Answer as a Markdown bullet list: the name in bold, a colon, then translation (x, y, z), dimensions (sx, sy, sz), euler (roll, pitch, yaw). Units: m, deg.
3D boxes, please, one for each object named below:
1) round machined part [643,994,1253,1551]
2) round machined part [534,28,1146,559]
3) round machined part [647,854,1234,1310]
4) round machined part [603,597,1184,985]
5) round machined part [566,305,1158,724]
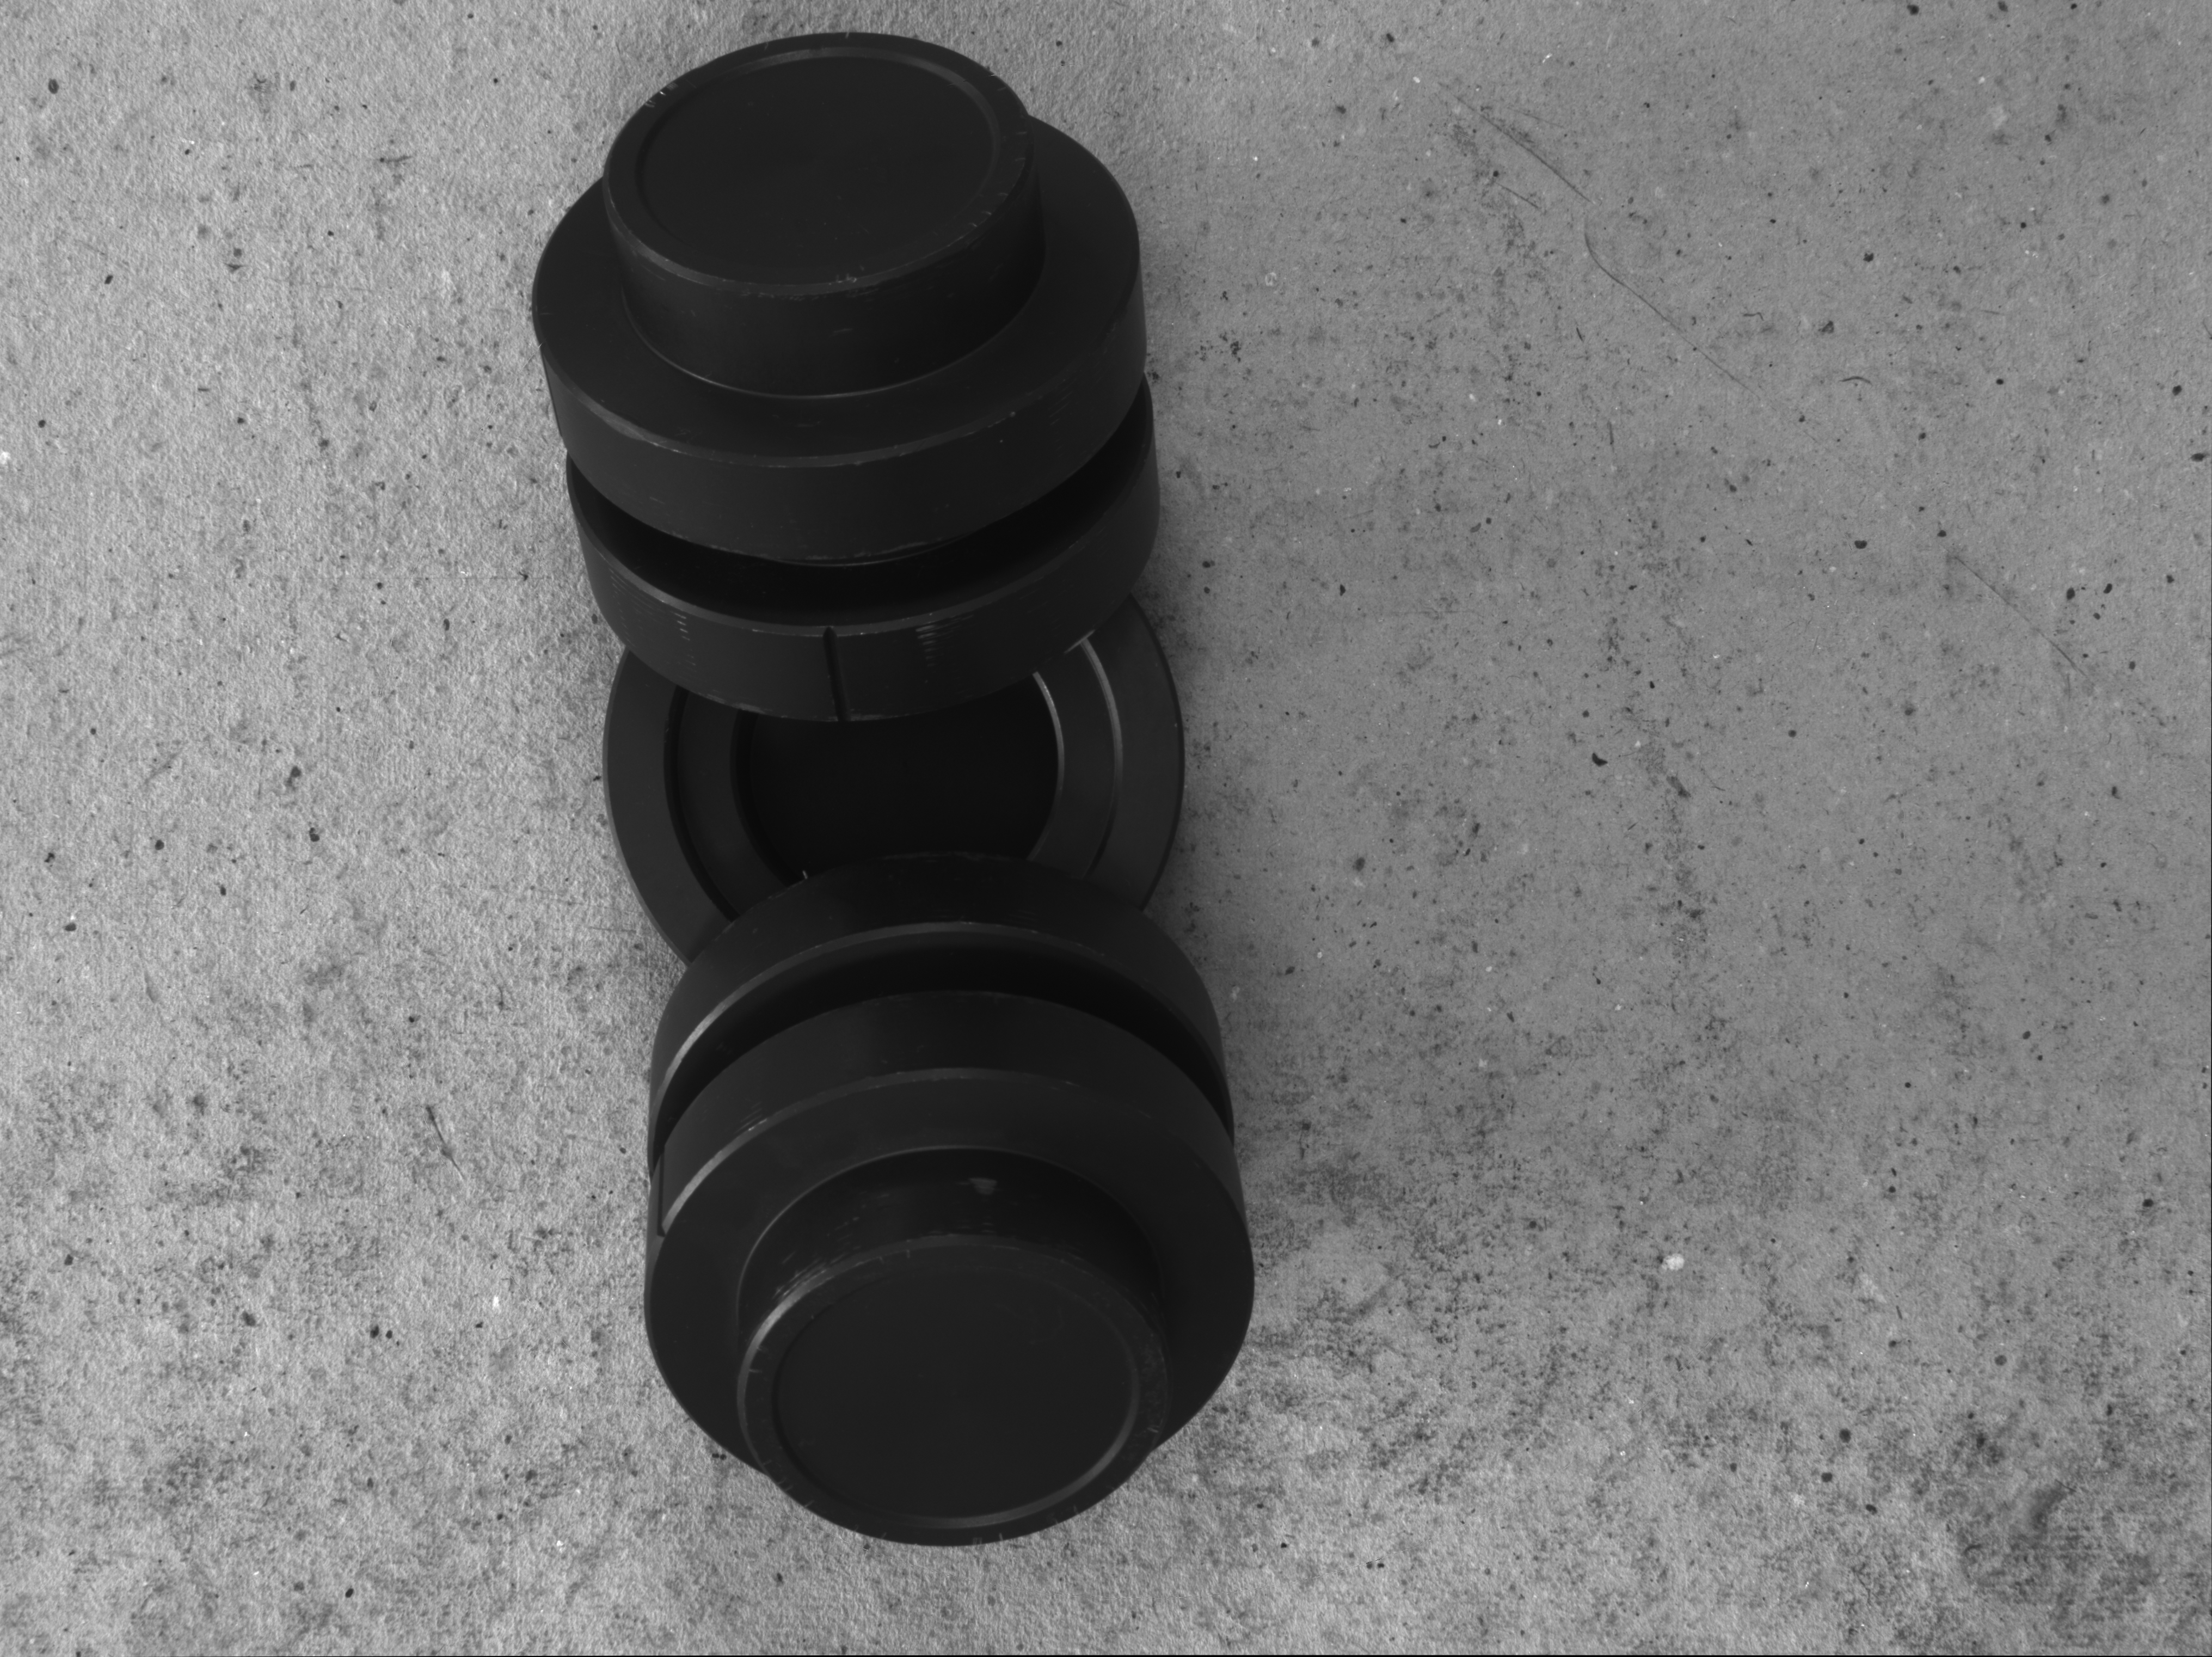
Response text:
- **round machined part**: translation (-0.025, 0.077, 0.588), dimensions (0.098, 0.042, 0.098), euler (-3, 126, -3)
- **round machined part**: translation (-0.043, -0.091, 0.589), dimensions (0.098, 0.042, 0.098), euler (-3, 47, 3)
- **round machined part**: translation (-0.027, 0.056, 0.612), dimensions (0.098, 0.042, 0.098), euler (-2, 126, -3)
- **round machined part**: translation (-0.036, -0.012, 0.638), dimensions (0.098, 0.042, 0.098), euler (0, 90, 0)
- **round machined part**: translation (-0.041, -0.066, 0.609), dimensions (0.098, 0.042, 0.098), euler (-2, 47, 3)
